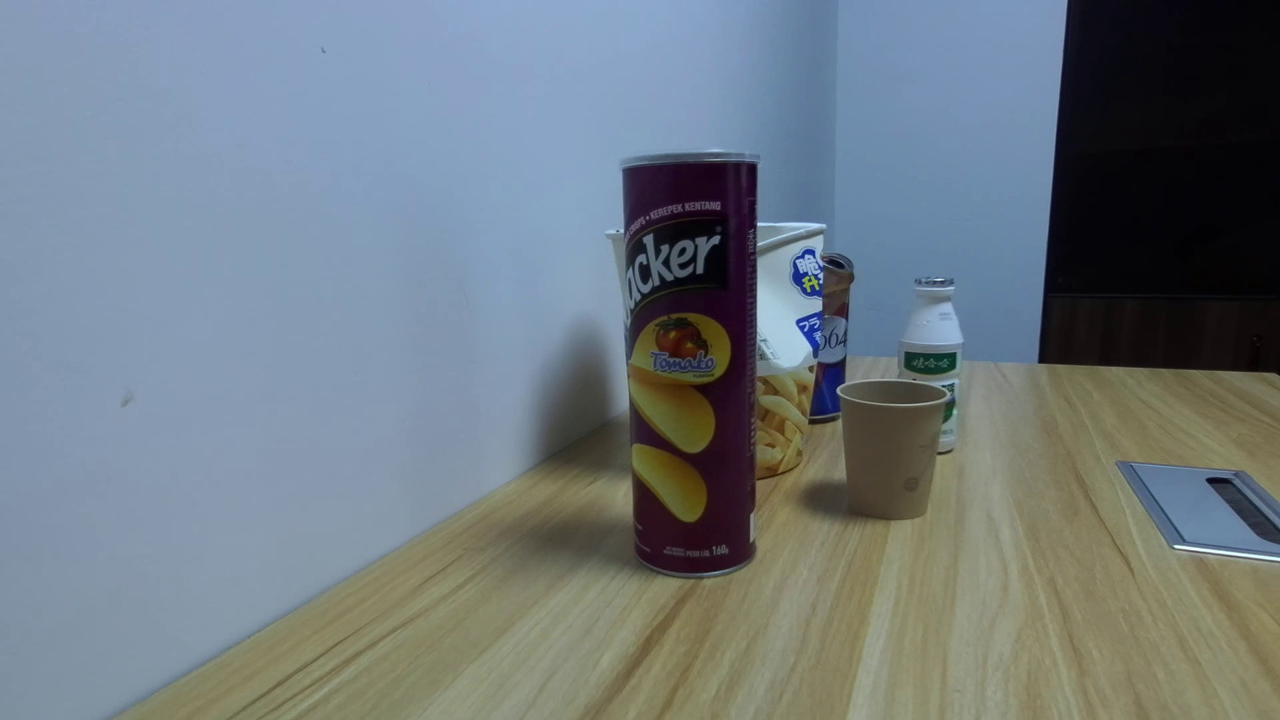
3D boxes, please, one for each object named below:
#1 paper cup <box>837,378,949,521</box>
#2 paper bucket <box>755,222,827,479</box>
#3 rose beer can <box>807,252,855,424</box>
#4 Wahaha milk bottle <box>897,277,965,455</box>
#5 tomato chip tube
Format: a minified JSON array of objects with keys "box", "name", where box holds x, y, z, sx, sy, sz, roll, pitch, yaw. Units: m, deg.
[{"box":[0.172,0.062,0.488,0.075,0.082,0.075,-1,10,0],"name":"paper cup"},{"box":[0.061,-0.012,0.586,0.168,0.202,0.163,1,13,24],"name":"paper bucket"},{"box":[0.171,-0.023,0.700,0.070,0.168,0.069,6,13,12],"name":"rose beer can"},{"box":[0.247,0.003,0.603,0.053,0.147,0.053,-2,13,1],"name":"Wahaha milk bottle"},{"box":[0.032,0.004,0.415,0.078,0.233,0.078,-2,10,1],"name":"tomato chip tube"}]
